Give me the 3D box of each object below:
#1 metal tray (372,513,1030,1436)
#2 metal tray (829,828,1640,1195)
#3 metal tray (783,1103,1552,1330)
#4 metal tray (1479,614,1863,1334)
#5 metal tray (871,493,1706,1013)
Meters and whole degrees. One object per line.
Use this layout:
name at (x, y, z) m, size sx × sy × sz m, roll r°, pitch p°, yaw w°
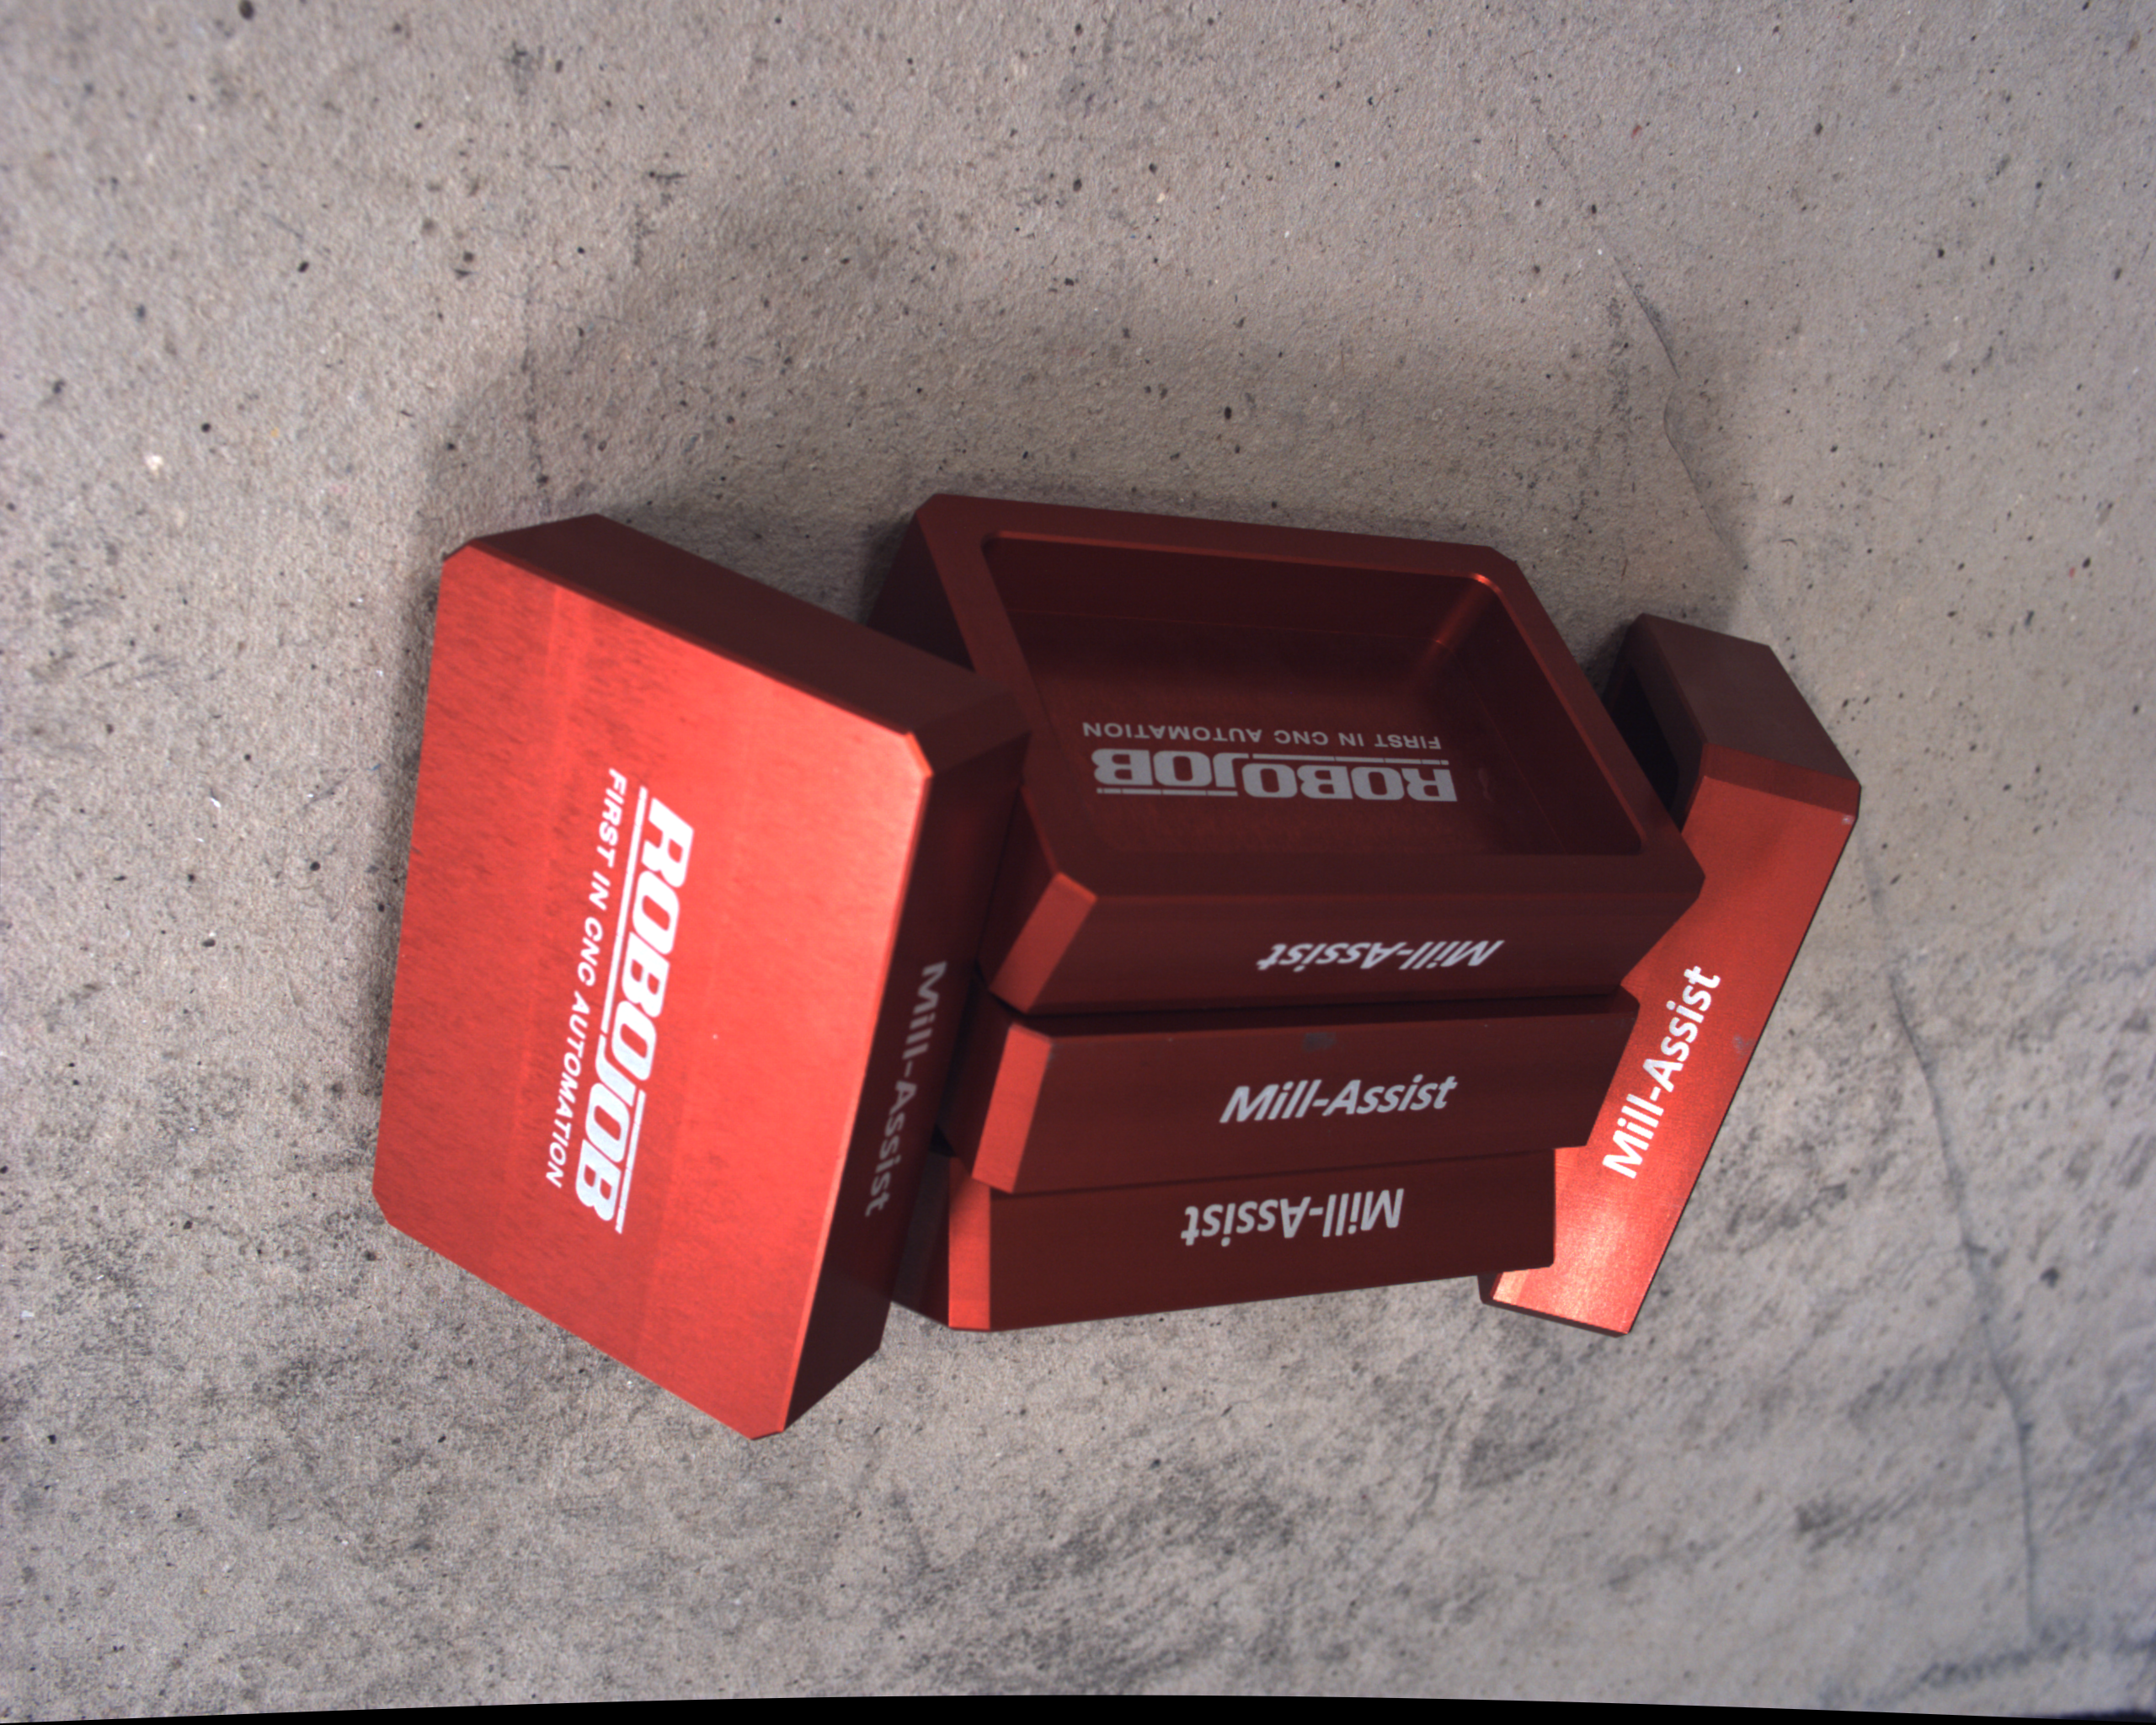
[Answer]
metal tray at (-0.066, 0.019, 0.343) m, size 0.030 × 0.090 × 0.129 m, roll -32°, pitch 141°, yaw -58°
metal tray at (0.027, 0.019, 0.392) m, size 0.131 × 0.090 × 0.030 m, roll 0°, pitch 119°, yaw -29°
metal tray at (0.016, 0.063, 0.413) m, size 0.131 × 0.090 × 0.030 m, roll 0°, pitch 89°, yaw -29°
metal tray at (0.118, 0.022, 0.443) m, size 0.030 × 0.090 × 0.129 m, roll 15°, pitch 114°, yaw 0°
metal tray at (0.037, -0.020, 0.371) m, size 0.131 × 0.090 × 0.030 m, roll 0°, pitch 140°, yaw -29°
